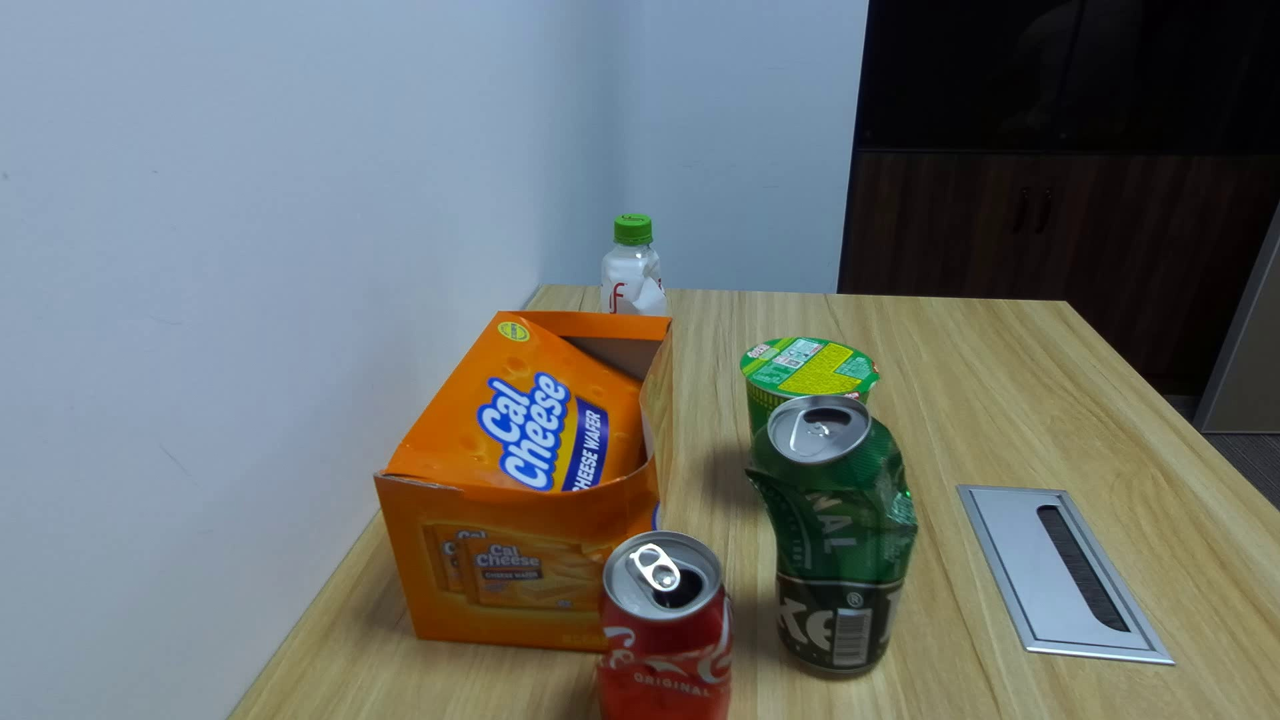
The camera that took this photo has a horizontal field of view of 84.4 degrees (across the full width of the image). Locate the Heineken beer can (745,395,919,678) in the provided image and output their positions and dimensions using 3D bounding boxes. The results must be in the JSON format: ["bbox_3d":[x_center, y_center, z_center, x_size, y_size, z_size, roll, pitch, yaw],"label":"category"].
[{"bbox_3d":[0.109,0.098,0.395,0.079,0.159,0.067,-16,27,-12],"label":"Heineken beer can"}]

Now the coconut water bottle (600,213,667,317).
[{"bbox_3d":[-0.001,-0.029,0.604,0.069,0.186,0.069,-4,25,2],"label":"coconut water bottle"}]

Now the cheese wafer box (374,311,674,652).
[{"bbox_3d":[-0.055,0.071,0.491,0.152,0.132,0.230,3,27,7],"label":"cheese wafer box"}]

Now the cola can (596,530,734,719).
[{"bbox_3d":[0.010,0.142,0.351,0.066,0.117,0.066,-2,30,0],"label":"cola can"}]
